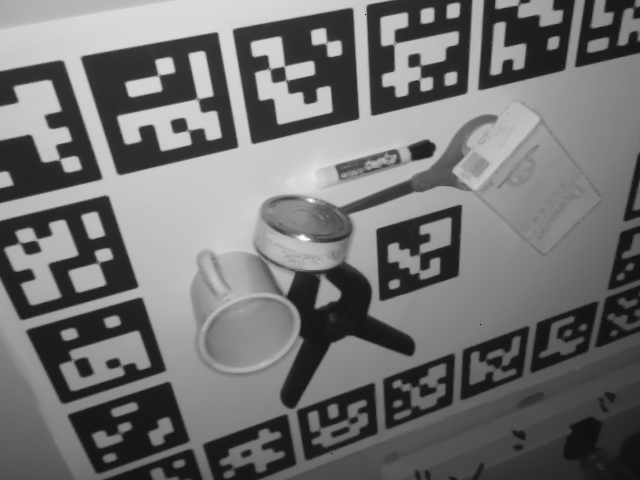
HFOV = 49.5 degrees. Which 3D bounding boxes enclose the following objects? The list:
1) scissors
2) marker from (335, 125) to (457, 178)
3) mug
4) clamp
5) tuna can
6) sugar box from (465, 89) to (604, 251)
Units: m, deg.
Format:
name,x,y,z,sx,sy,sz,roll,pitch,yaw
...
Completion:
name,x,y,z,sx,sy,sz,roll,pitch,yaw
scissors,0.121,-0.061,0.682,0.204,0.016,0.087,-24,129,-7
marker,0.073,-0.084,0.651,0.122,0.019,0.019,-19,123,-12
mug,-0.061,0.045,0.635,0.093,0.081,0.117,-38,129,3
clamp,0.025,0.082,0.730,0.166,0.036,0.202,-25,124,-8
tuna can,-0.009,-0.013,0.617,0.087,0.085,0.033,0,119,-22
sugar box,0.230,-0.062,0.708,0.092,0.045,0.178,-46,131,8
